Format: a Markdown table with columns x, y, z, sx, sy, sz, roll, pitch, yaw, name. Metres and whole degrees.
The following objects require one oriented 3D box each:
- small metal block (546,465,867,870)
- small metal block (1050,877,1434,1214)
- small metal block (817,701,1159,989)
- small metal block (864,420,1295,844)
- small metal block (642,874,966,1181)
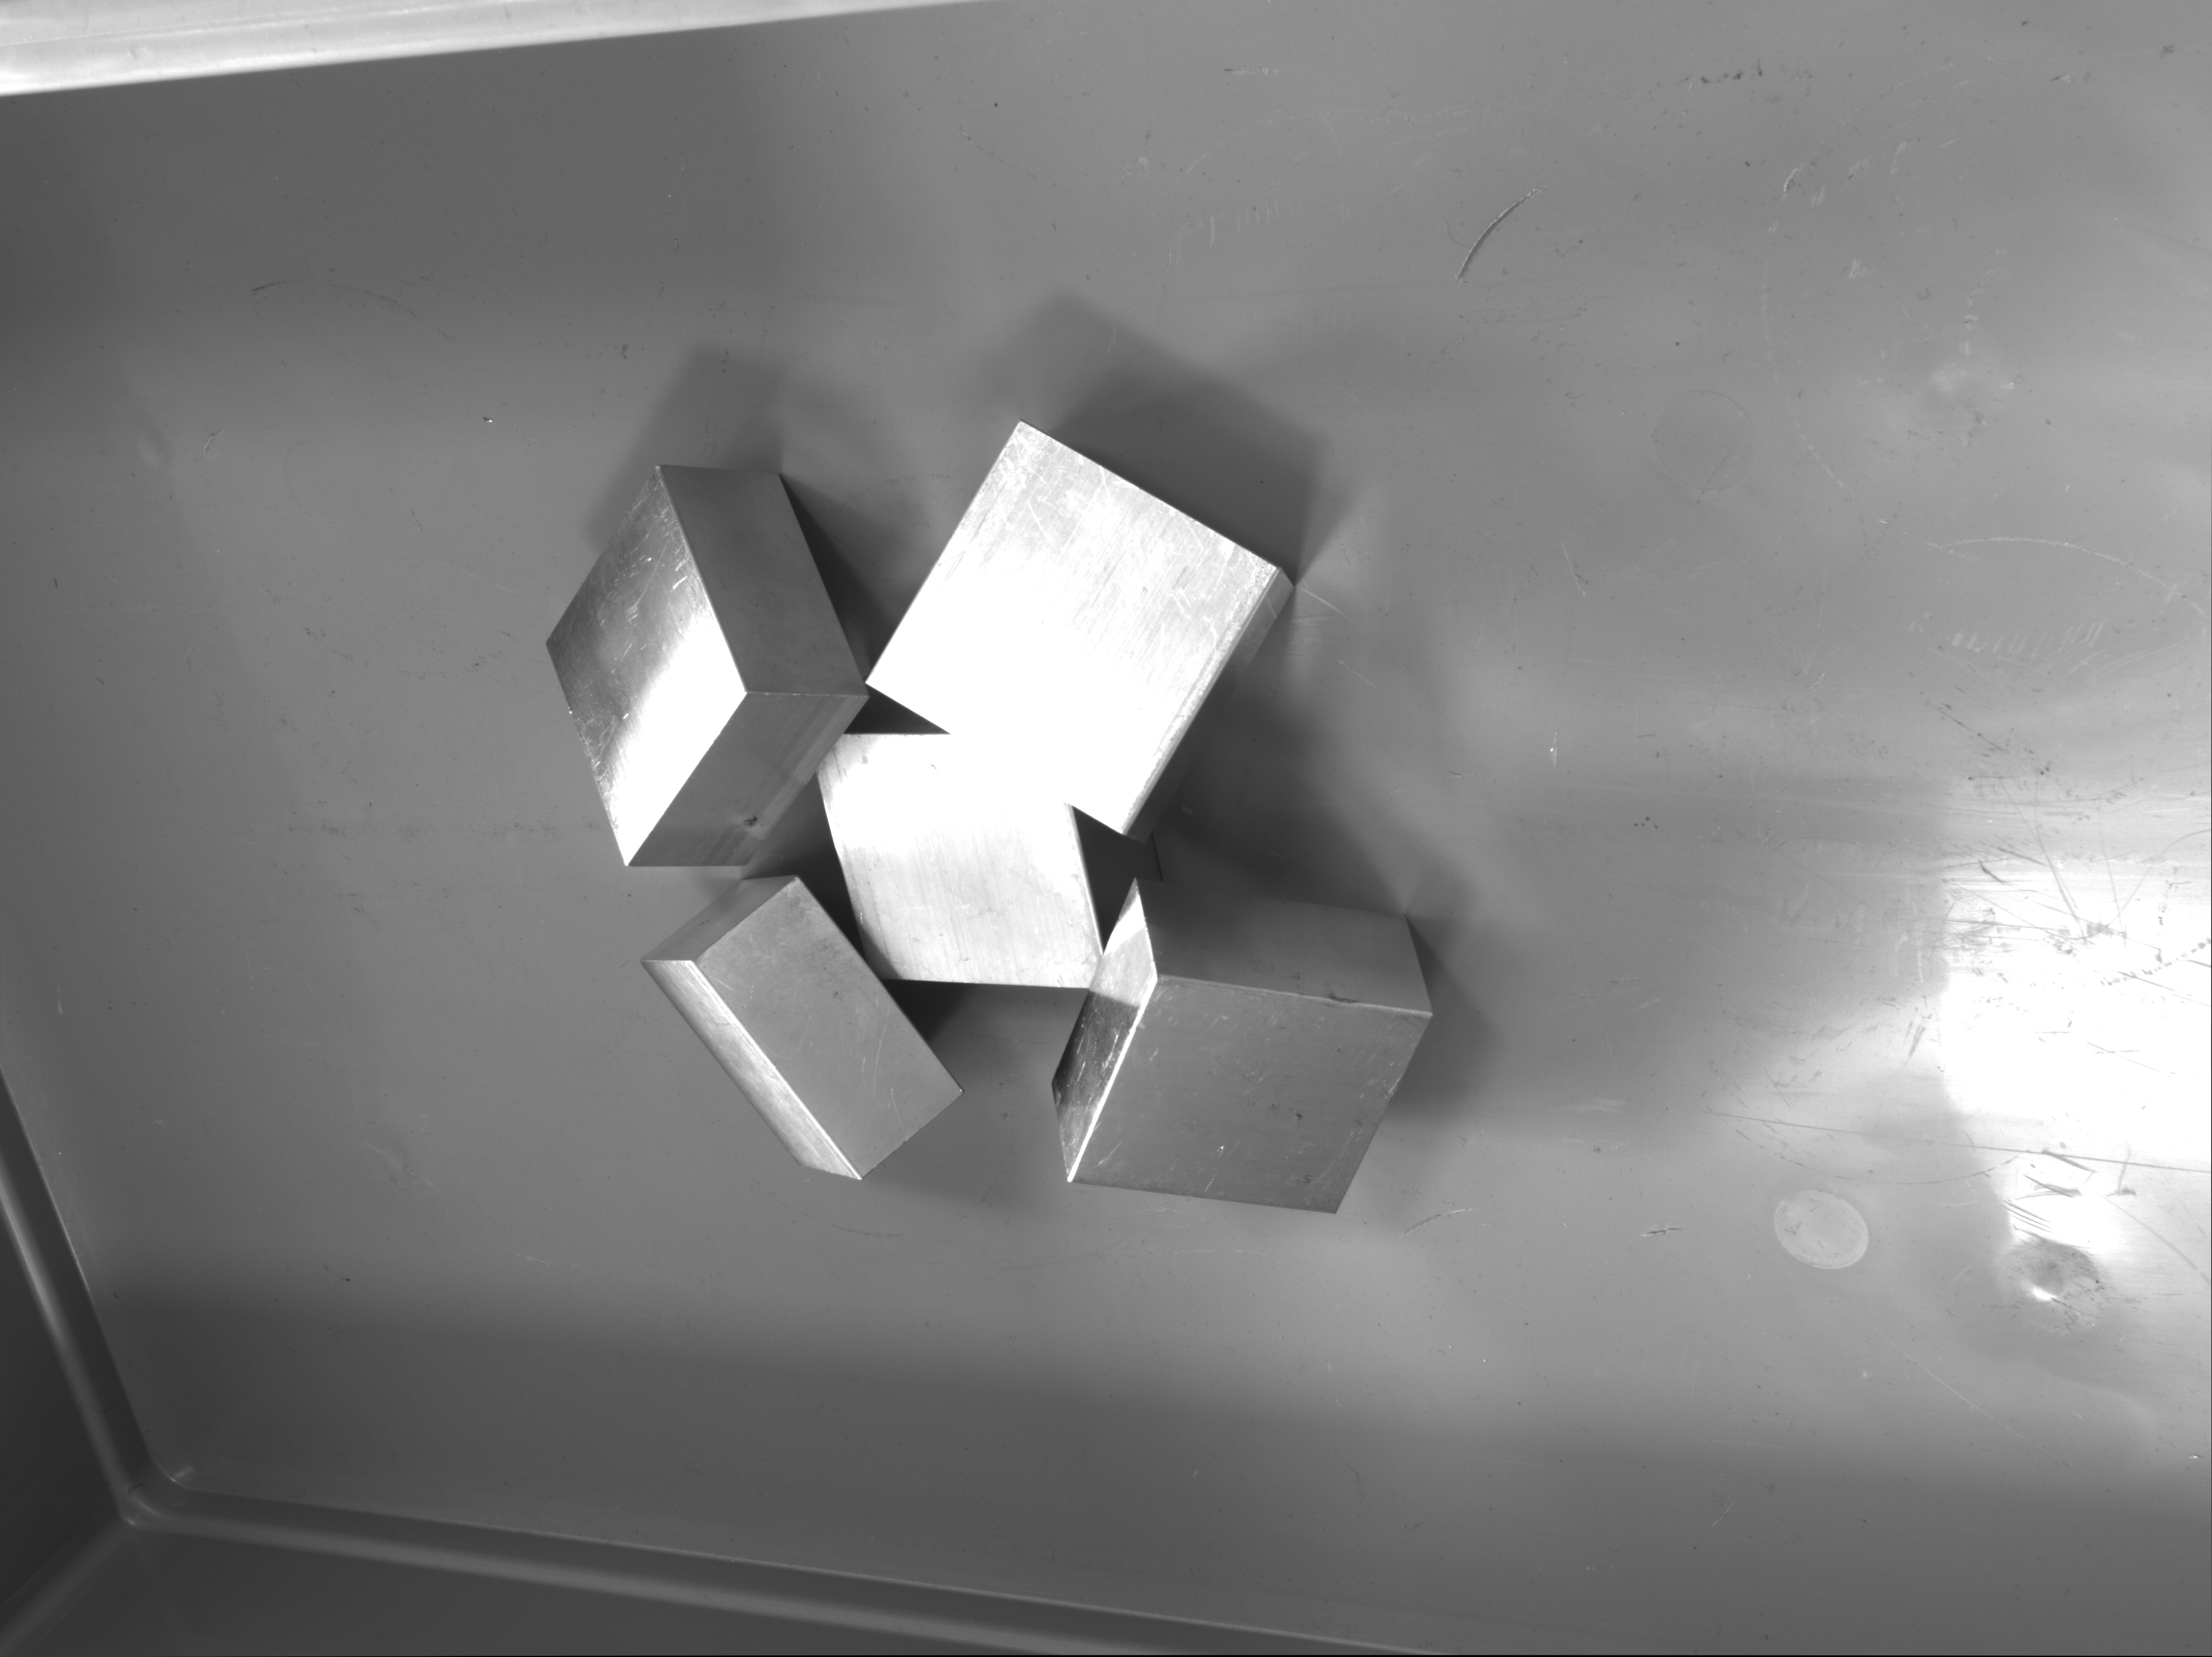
| x | y | z | sx | sy | sz | roll | pitch | yaw | name |
| --- | --- | --- | --- | --- | --- | --- | --- | --- | --- |
| -0.071 | -0.028 | 0.645 | 0.050 | 0.025 | 0.050 | -51 | 51 | 40 | small metal block |
| 0.023 | 0.038 | 0.637 | 0.050 | 0.025 | 0.050 | 8 | 129 | -17 | small metal block |
| -0.021 | 0.000 | 0.651 | 0.050 | 0.025 | 0.050 | 1 | 119 | 28 | small metal block |
| -0.004 | -0.032 | 0.607 | 0.050 | 0.025 | 0.050 | 30 | 91 | 8 | small metal block |
| -0.057 | 0.036 | 0.678 | 0.050 | 0.025 | 0.050 | 53 | 166 | -10 | small metal block |
